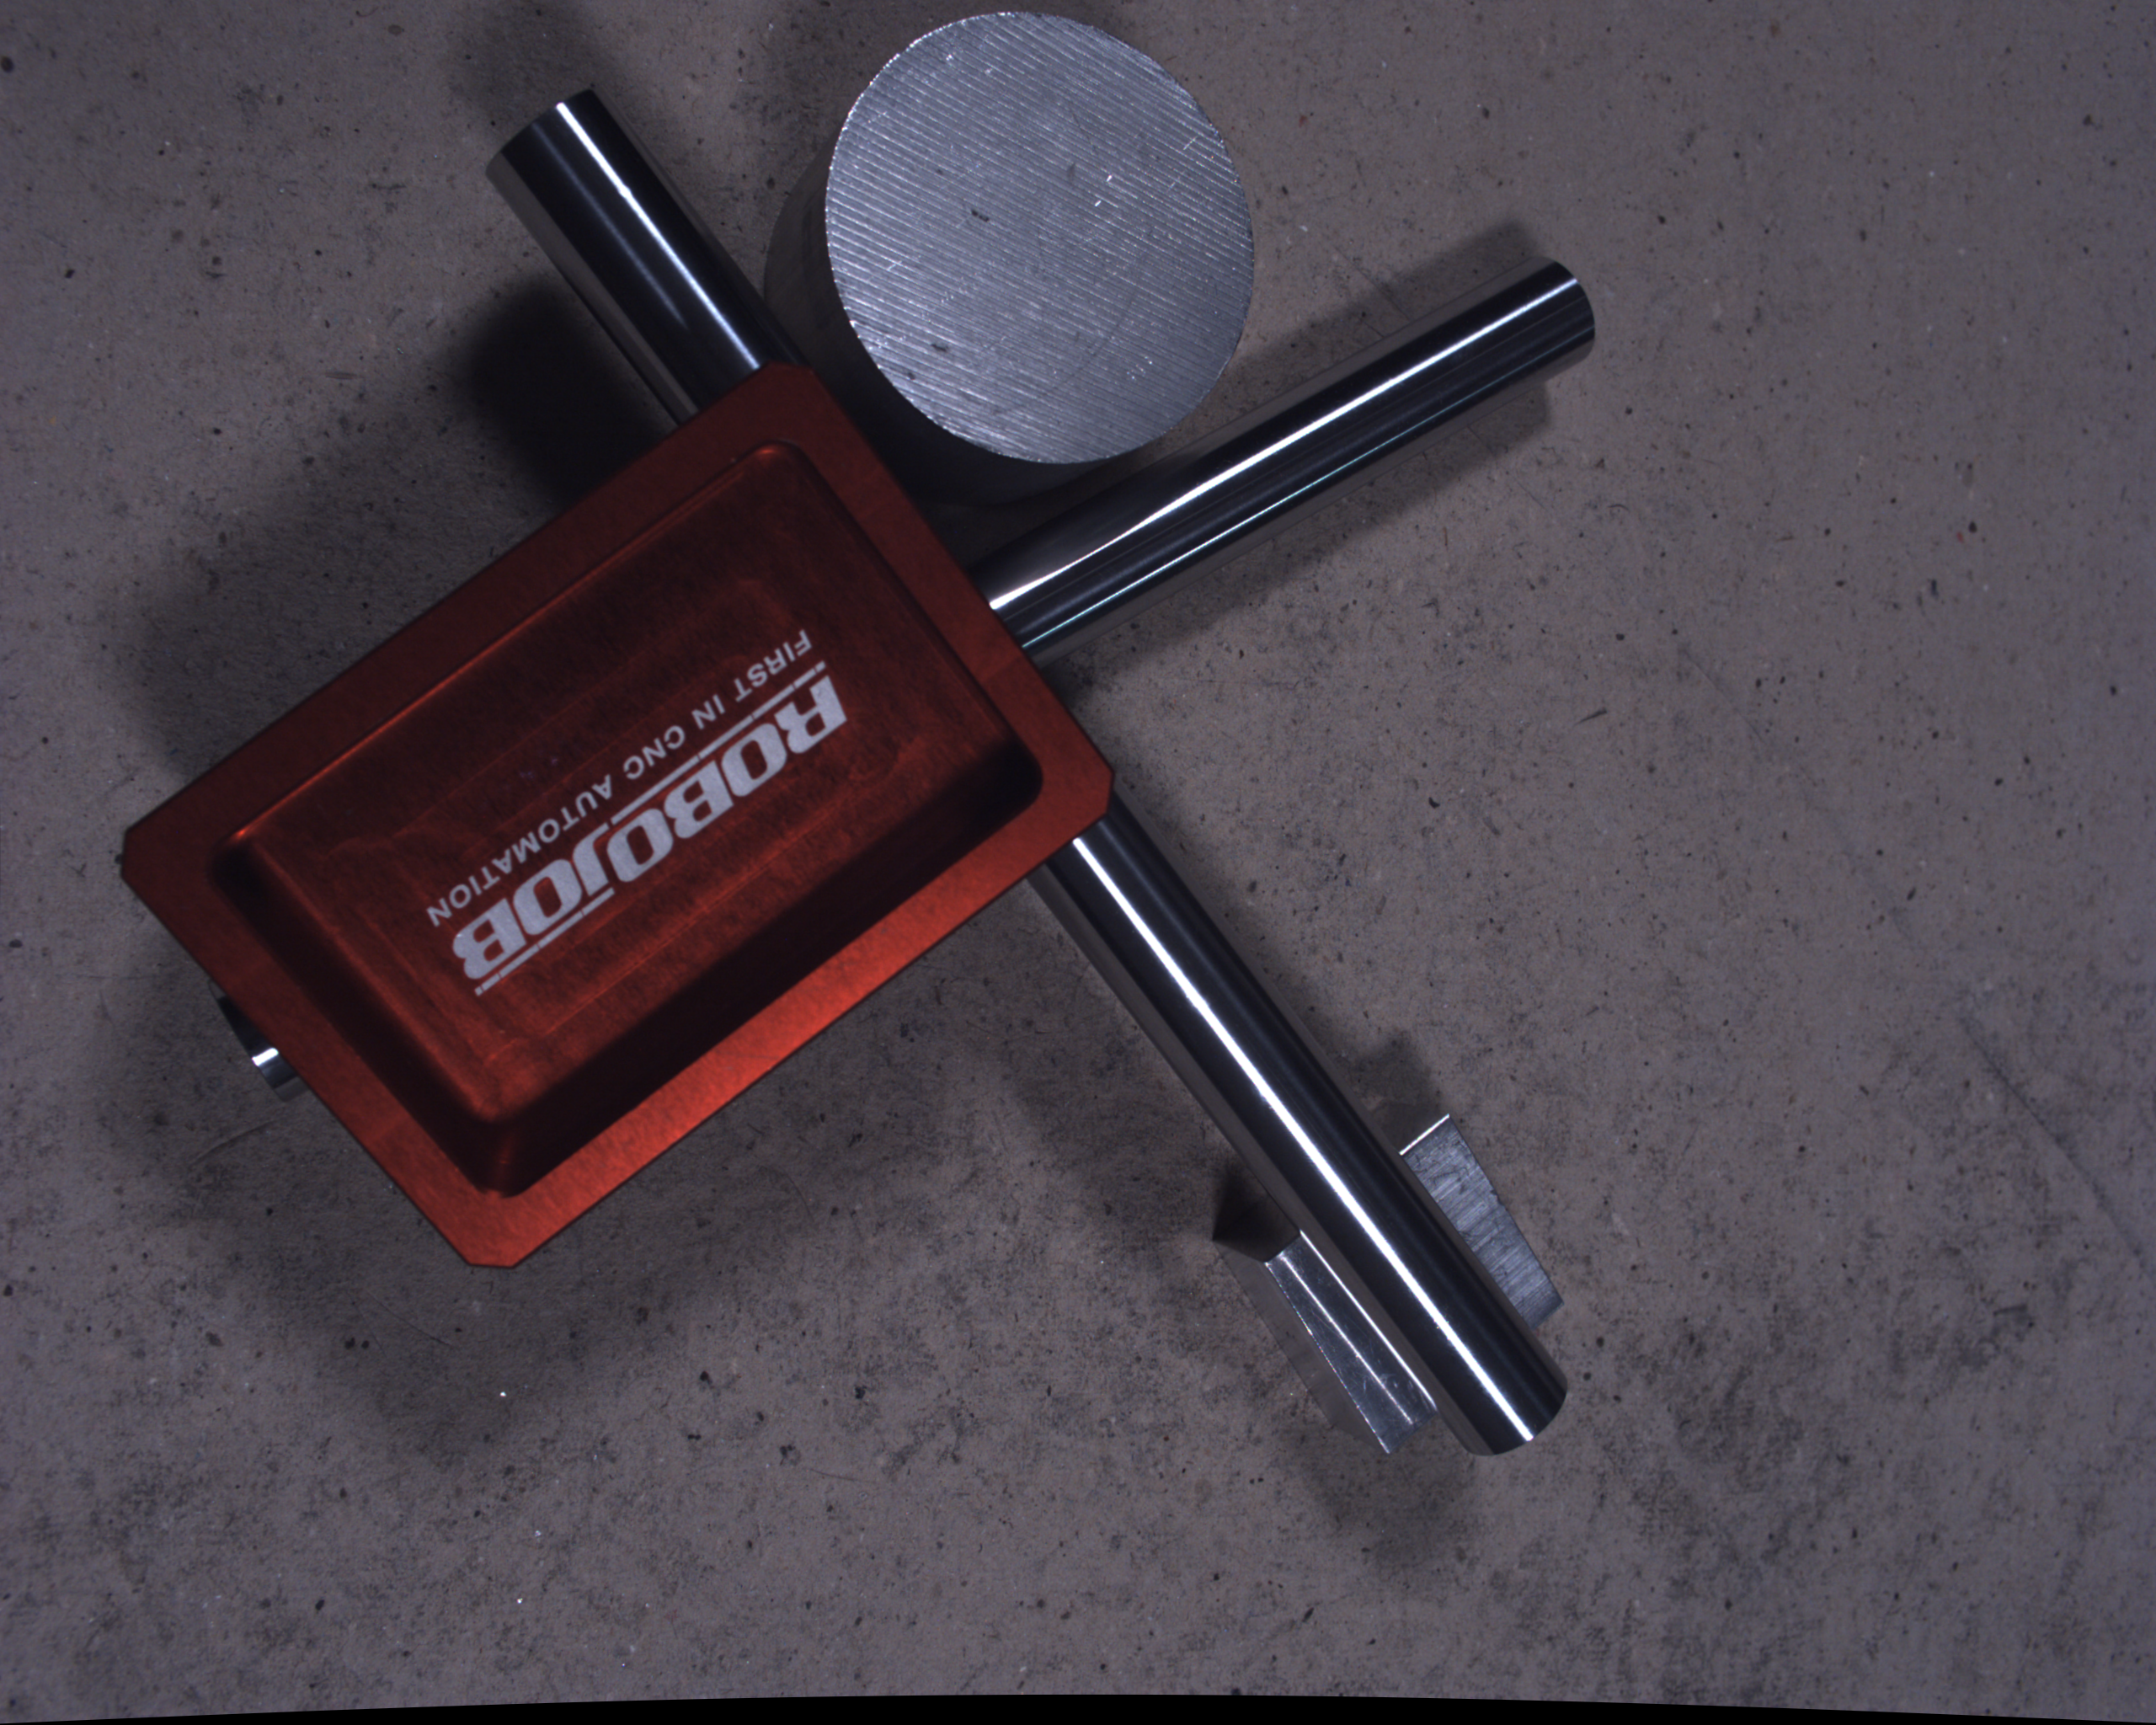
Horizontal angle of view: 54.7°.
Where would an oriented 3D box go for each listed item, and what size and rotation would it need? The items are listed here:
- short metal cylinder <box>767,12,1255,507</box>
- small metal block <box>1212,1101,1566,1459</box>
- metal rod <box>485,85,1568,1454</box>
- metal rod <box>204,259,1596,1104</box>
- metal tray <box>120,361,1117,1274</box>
[{"bbox_3d":[-0.014,-0.110,0.392,0.081,0.050,0.079,0,90,-21],"label":"short metal cylinder"},{"bbox_3d":[0.065,0.086,0.435,0.050,0.025,0.050,-35,102,-17],"label":"small metal block"},{"bbox_3d":[-0.001,-0.007,0.385,0.025,0.025,0.300,-41,103,-16],"label":"metal rod"},{"bbox_3d":[-0.020,-0.044,0.404,0.302,0.025,0.025,-31,101,-18],"label":"metal rod"},{"bbox_3d":[-0.071,-0.008,0.341,0.130,0.030,0.090,-38,102,-4],"label":"metal tray"}]
